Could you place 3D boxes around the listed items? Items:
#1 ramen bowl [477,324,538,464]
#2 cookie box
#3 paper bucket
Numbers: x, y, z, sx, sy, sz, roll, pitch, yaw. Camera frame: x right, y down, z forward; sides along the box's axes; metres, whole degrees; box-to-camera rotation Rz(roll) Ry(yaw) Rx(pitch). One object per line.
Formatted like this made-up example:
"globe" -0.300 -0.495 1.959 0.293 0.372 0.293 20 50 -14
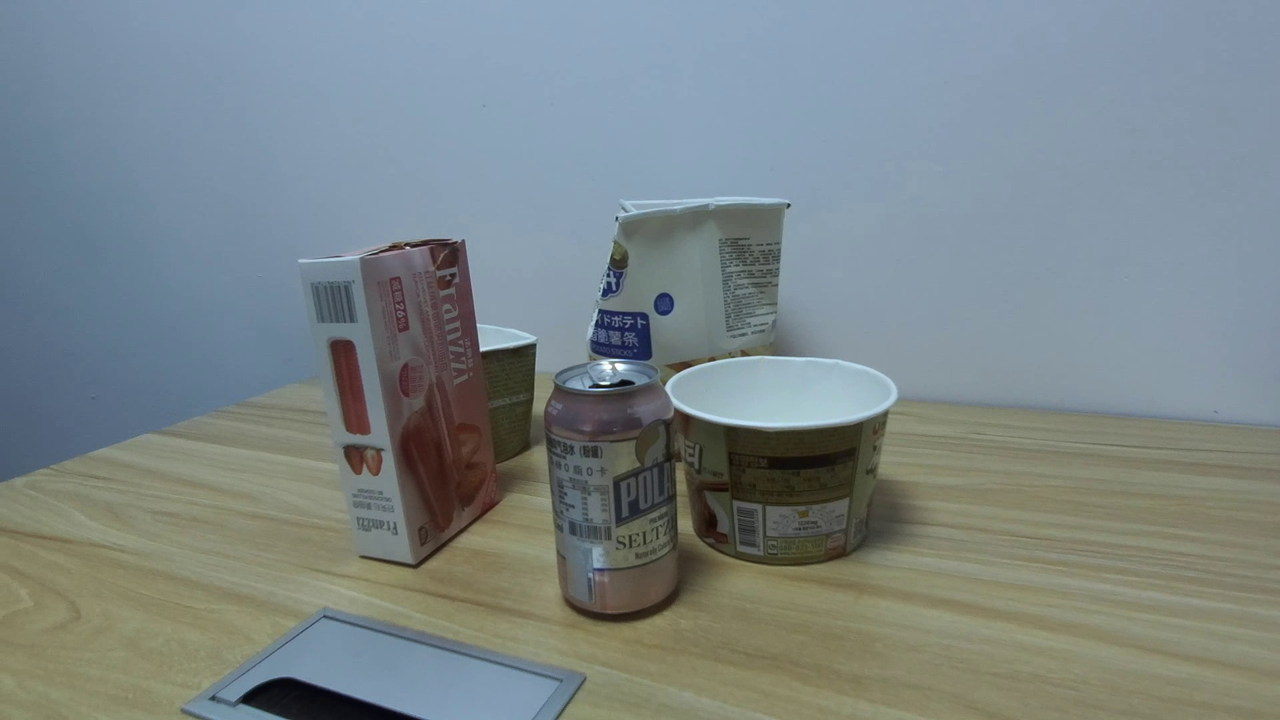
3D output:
"ramen bowl" -0.157 0.030 0.602 0.129 0.093 0.111 -14 18 -41
"cookie box" -0.142 0.019 0.450 0.048 0.187 0.105 2 16 22
"paper bucket" 0.025 -0.036 0.604 0.170 0.202 0.162 -8 14 -27
